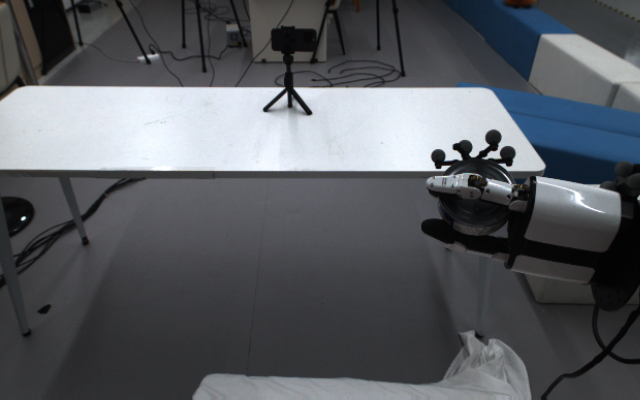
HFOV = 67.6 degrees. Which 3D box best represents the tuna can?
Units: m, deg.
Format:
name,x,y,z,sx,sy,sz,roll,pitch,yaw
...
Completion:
name,x,y,z,sx,sy,sz,roll,pitch,yaw
tuna can,0.179,-0.006,0.556,0.085,0.034,0.085,-6,58,10
